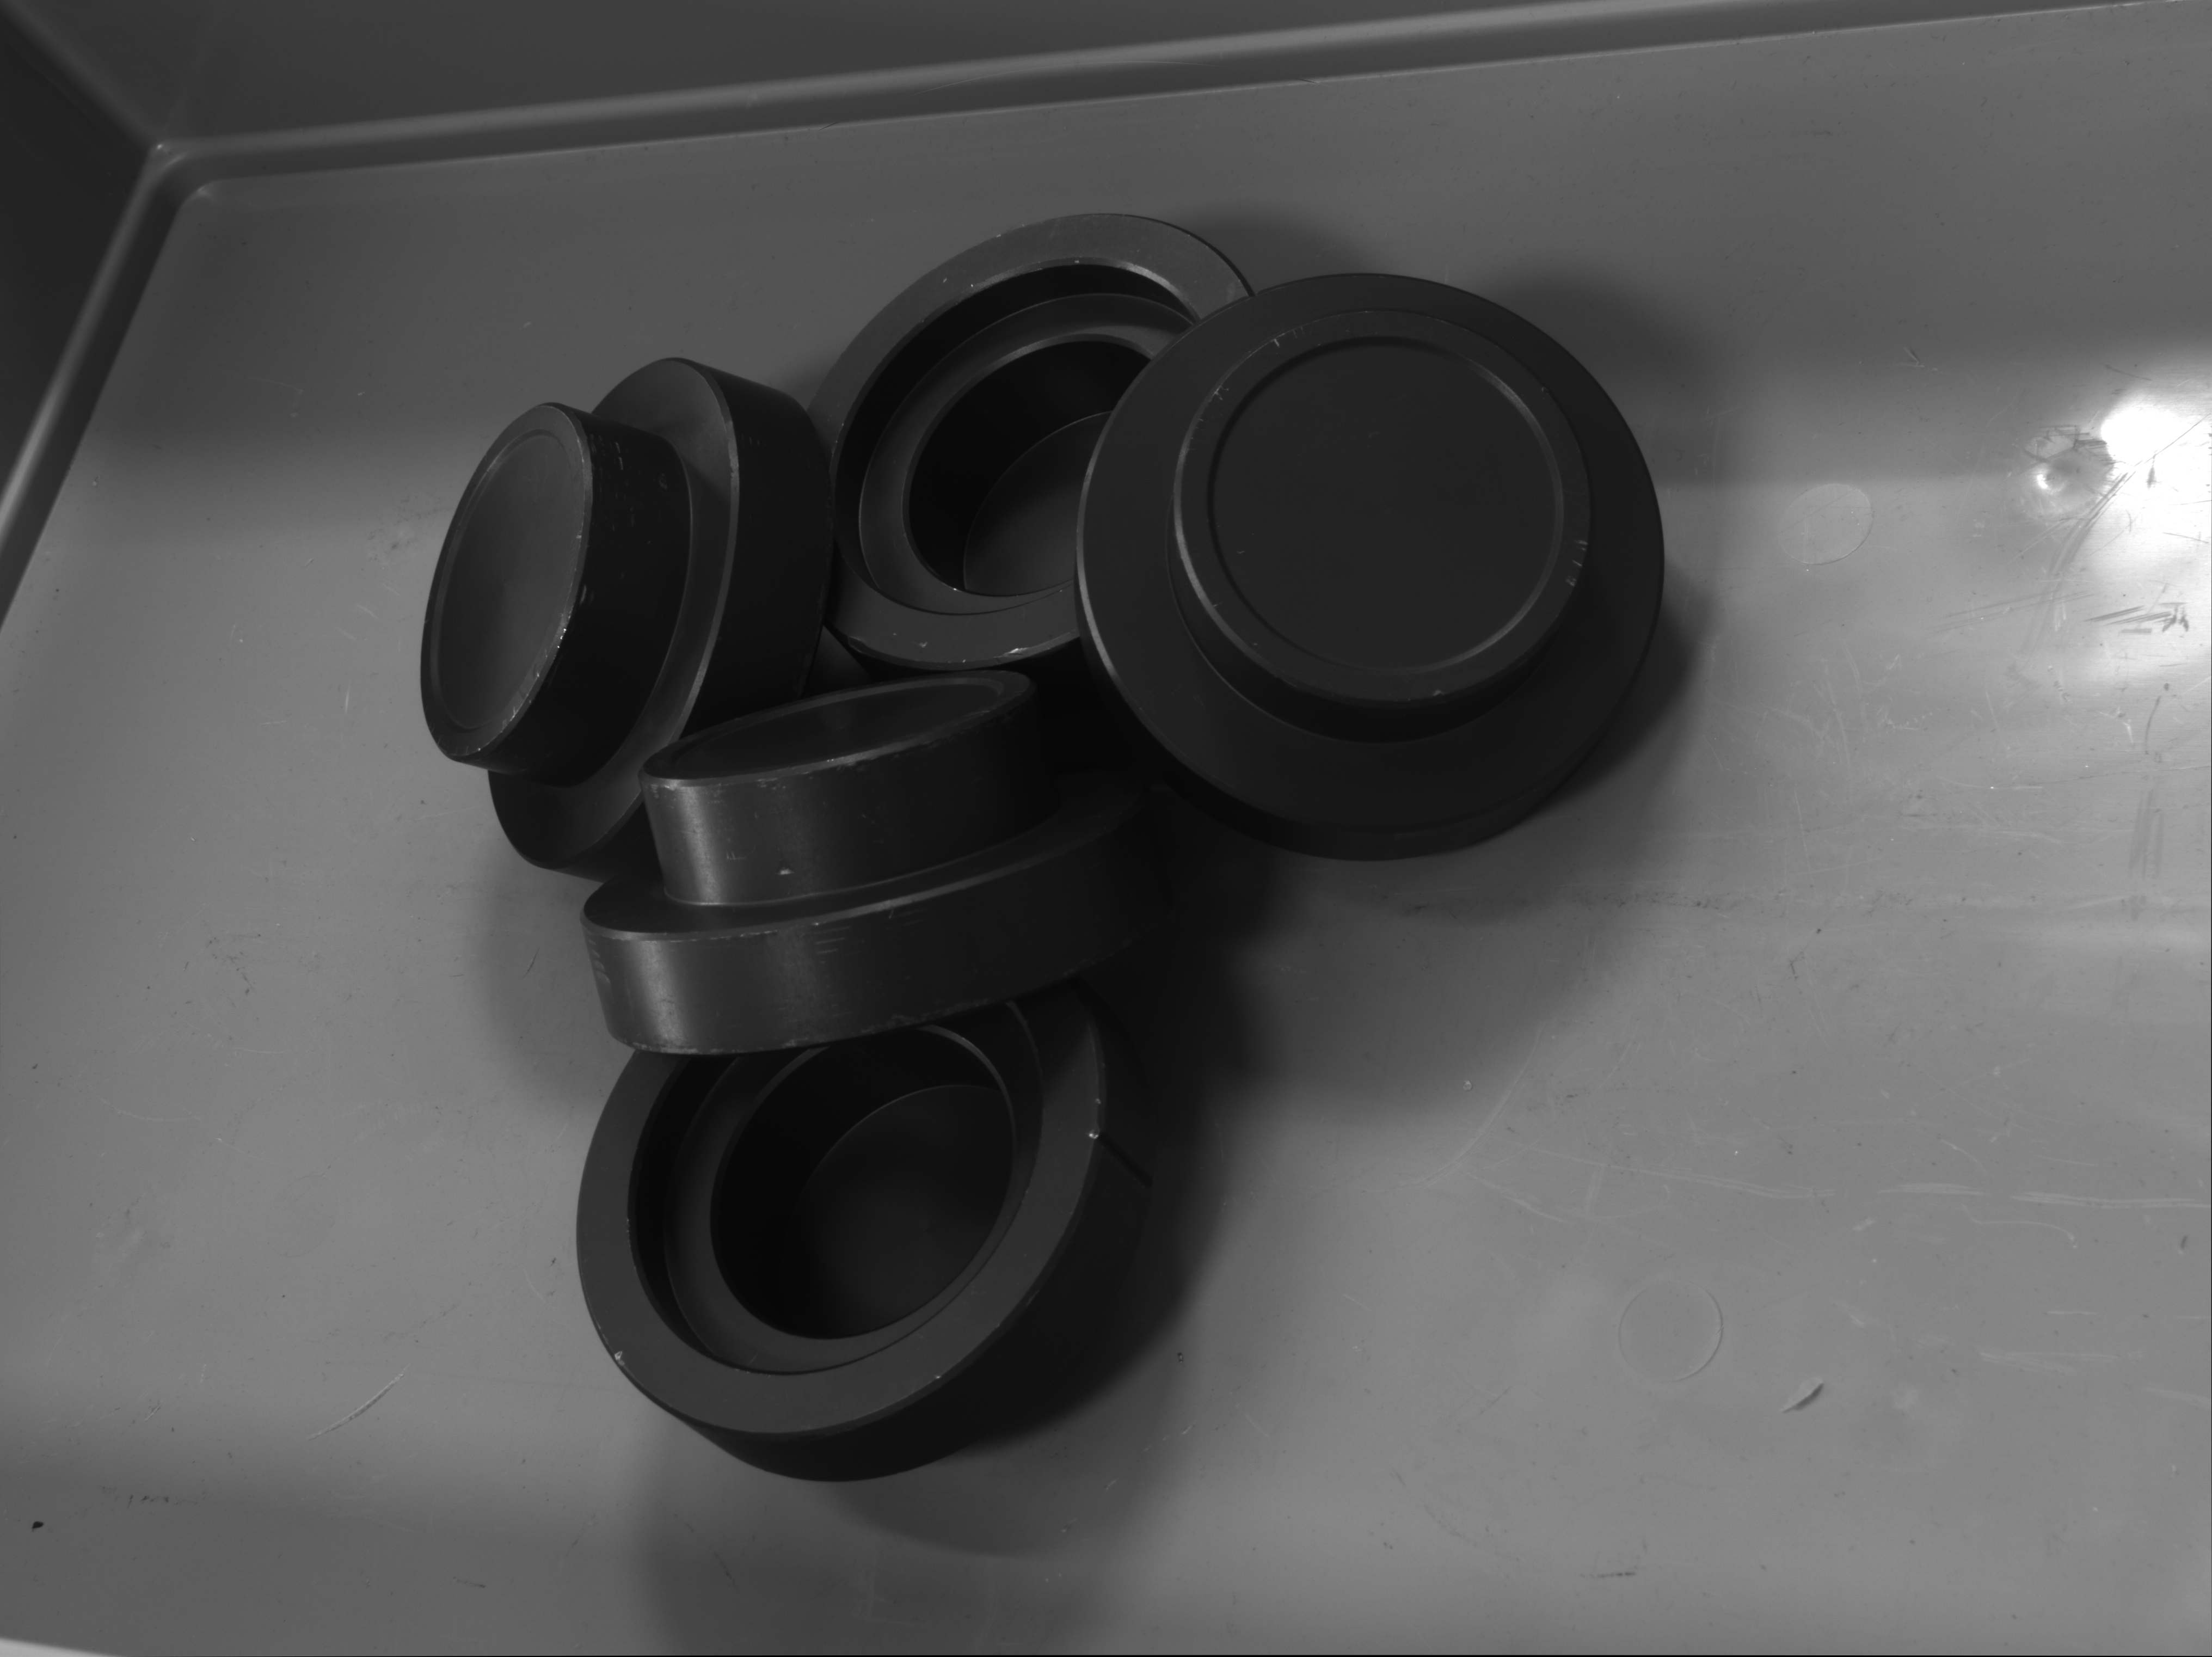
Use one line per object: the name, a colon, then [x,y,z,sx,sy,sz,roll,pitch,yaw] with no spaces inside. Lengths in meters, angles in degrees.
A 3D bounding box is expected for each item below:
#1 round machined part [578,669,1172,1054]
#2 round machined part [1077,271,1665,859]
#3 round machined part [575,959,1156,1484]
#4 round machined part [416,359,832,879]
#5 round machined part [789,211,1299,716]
round machined part: [-0.041,0.002,0.616,0.098,0.098,0.042,-6,103,25]
round machined part: [0.044,-0.047,0.608,0.098,0.042,0.098,1,76,-2]
round machined part: [-0.036,0.063,0.612,0.098,0.042,0.098,-13,56,21]
round machined part: [-0.094,-0.040,0.680,0.098,0.042,0.098,-30,52,48]
round machined part: [-0.007,-0.061,0.673,0.098,0.042,0.098,-13,56,21]
